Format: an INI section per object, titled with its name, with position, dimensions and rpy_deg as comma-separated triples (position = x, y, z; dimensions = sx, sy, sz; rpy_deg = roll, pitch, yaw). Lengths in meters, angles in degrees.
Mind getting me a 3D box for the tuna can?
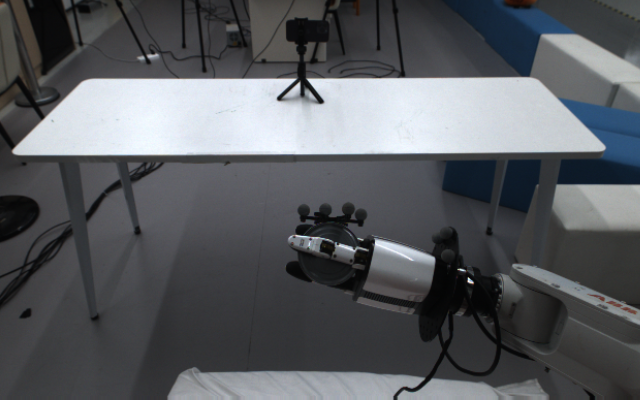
[tuna can]
position = 0.014, 0.072, 0.659
dimensions = 0.085, 0.034, 0.085
rpy_deg = 0, 74, 0
